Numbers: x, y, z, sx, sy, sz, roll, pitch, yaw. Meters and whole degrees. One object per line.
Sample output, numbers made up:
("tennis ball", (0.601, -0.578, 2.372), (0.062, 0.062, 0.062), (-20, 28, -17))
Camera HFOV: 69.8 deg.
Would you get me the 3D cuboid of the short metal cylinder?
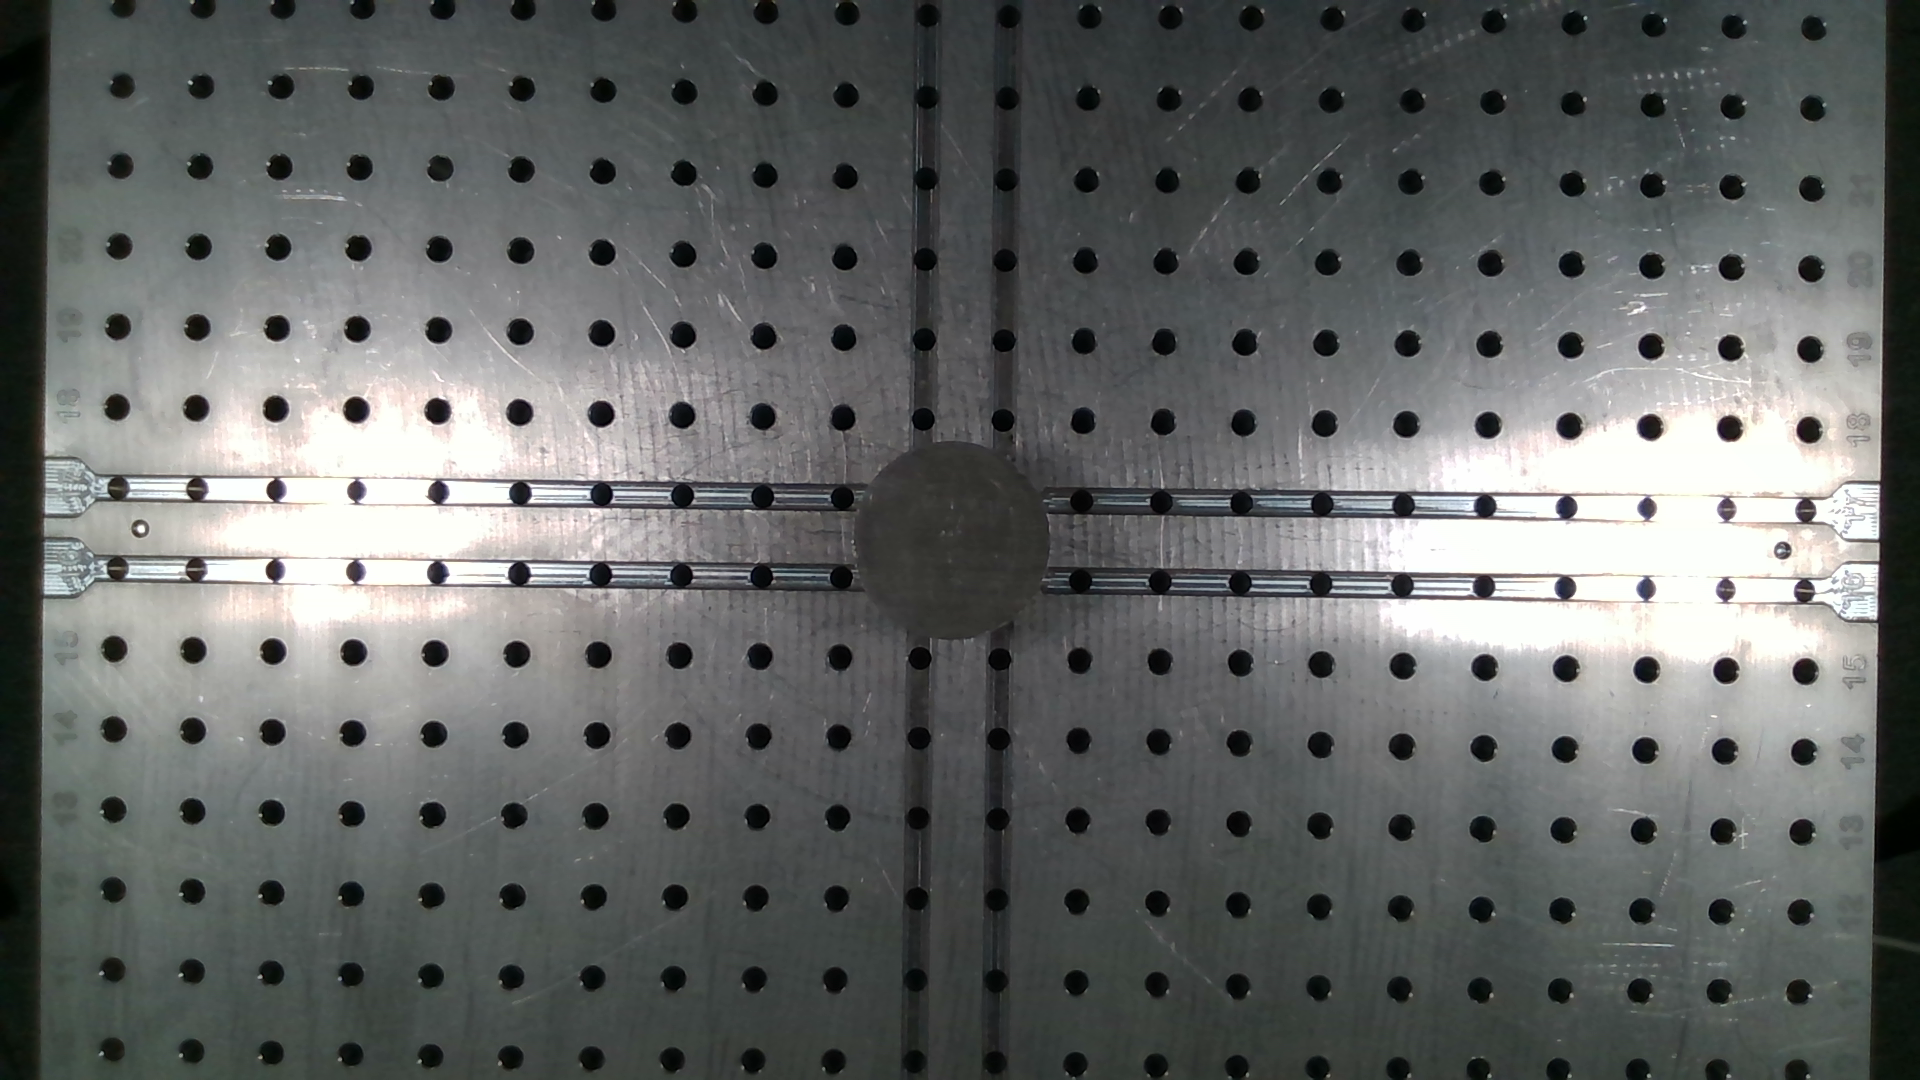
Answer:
("short metal cylinder", (-0.003, 0.000, 0.576), (0.080, 0.050, 0.080), (0, 90, 0))
